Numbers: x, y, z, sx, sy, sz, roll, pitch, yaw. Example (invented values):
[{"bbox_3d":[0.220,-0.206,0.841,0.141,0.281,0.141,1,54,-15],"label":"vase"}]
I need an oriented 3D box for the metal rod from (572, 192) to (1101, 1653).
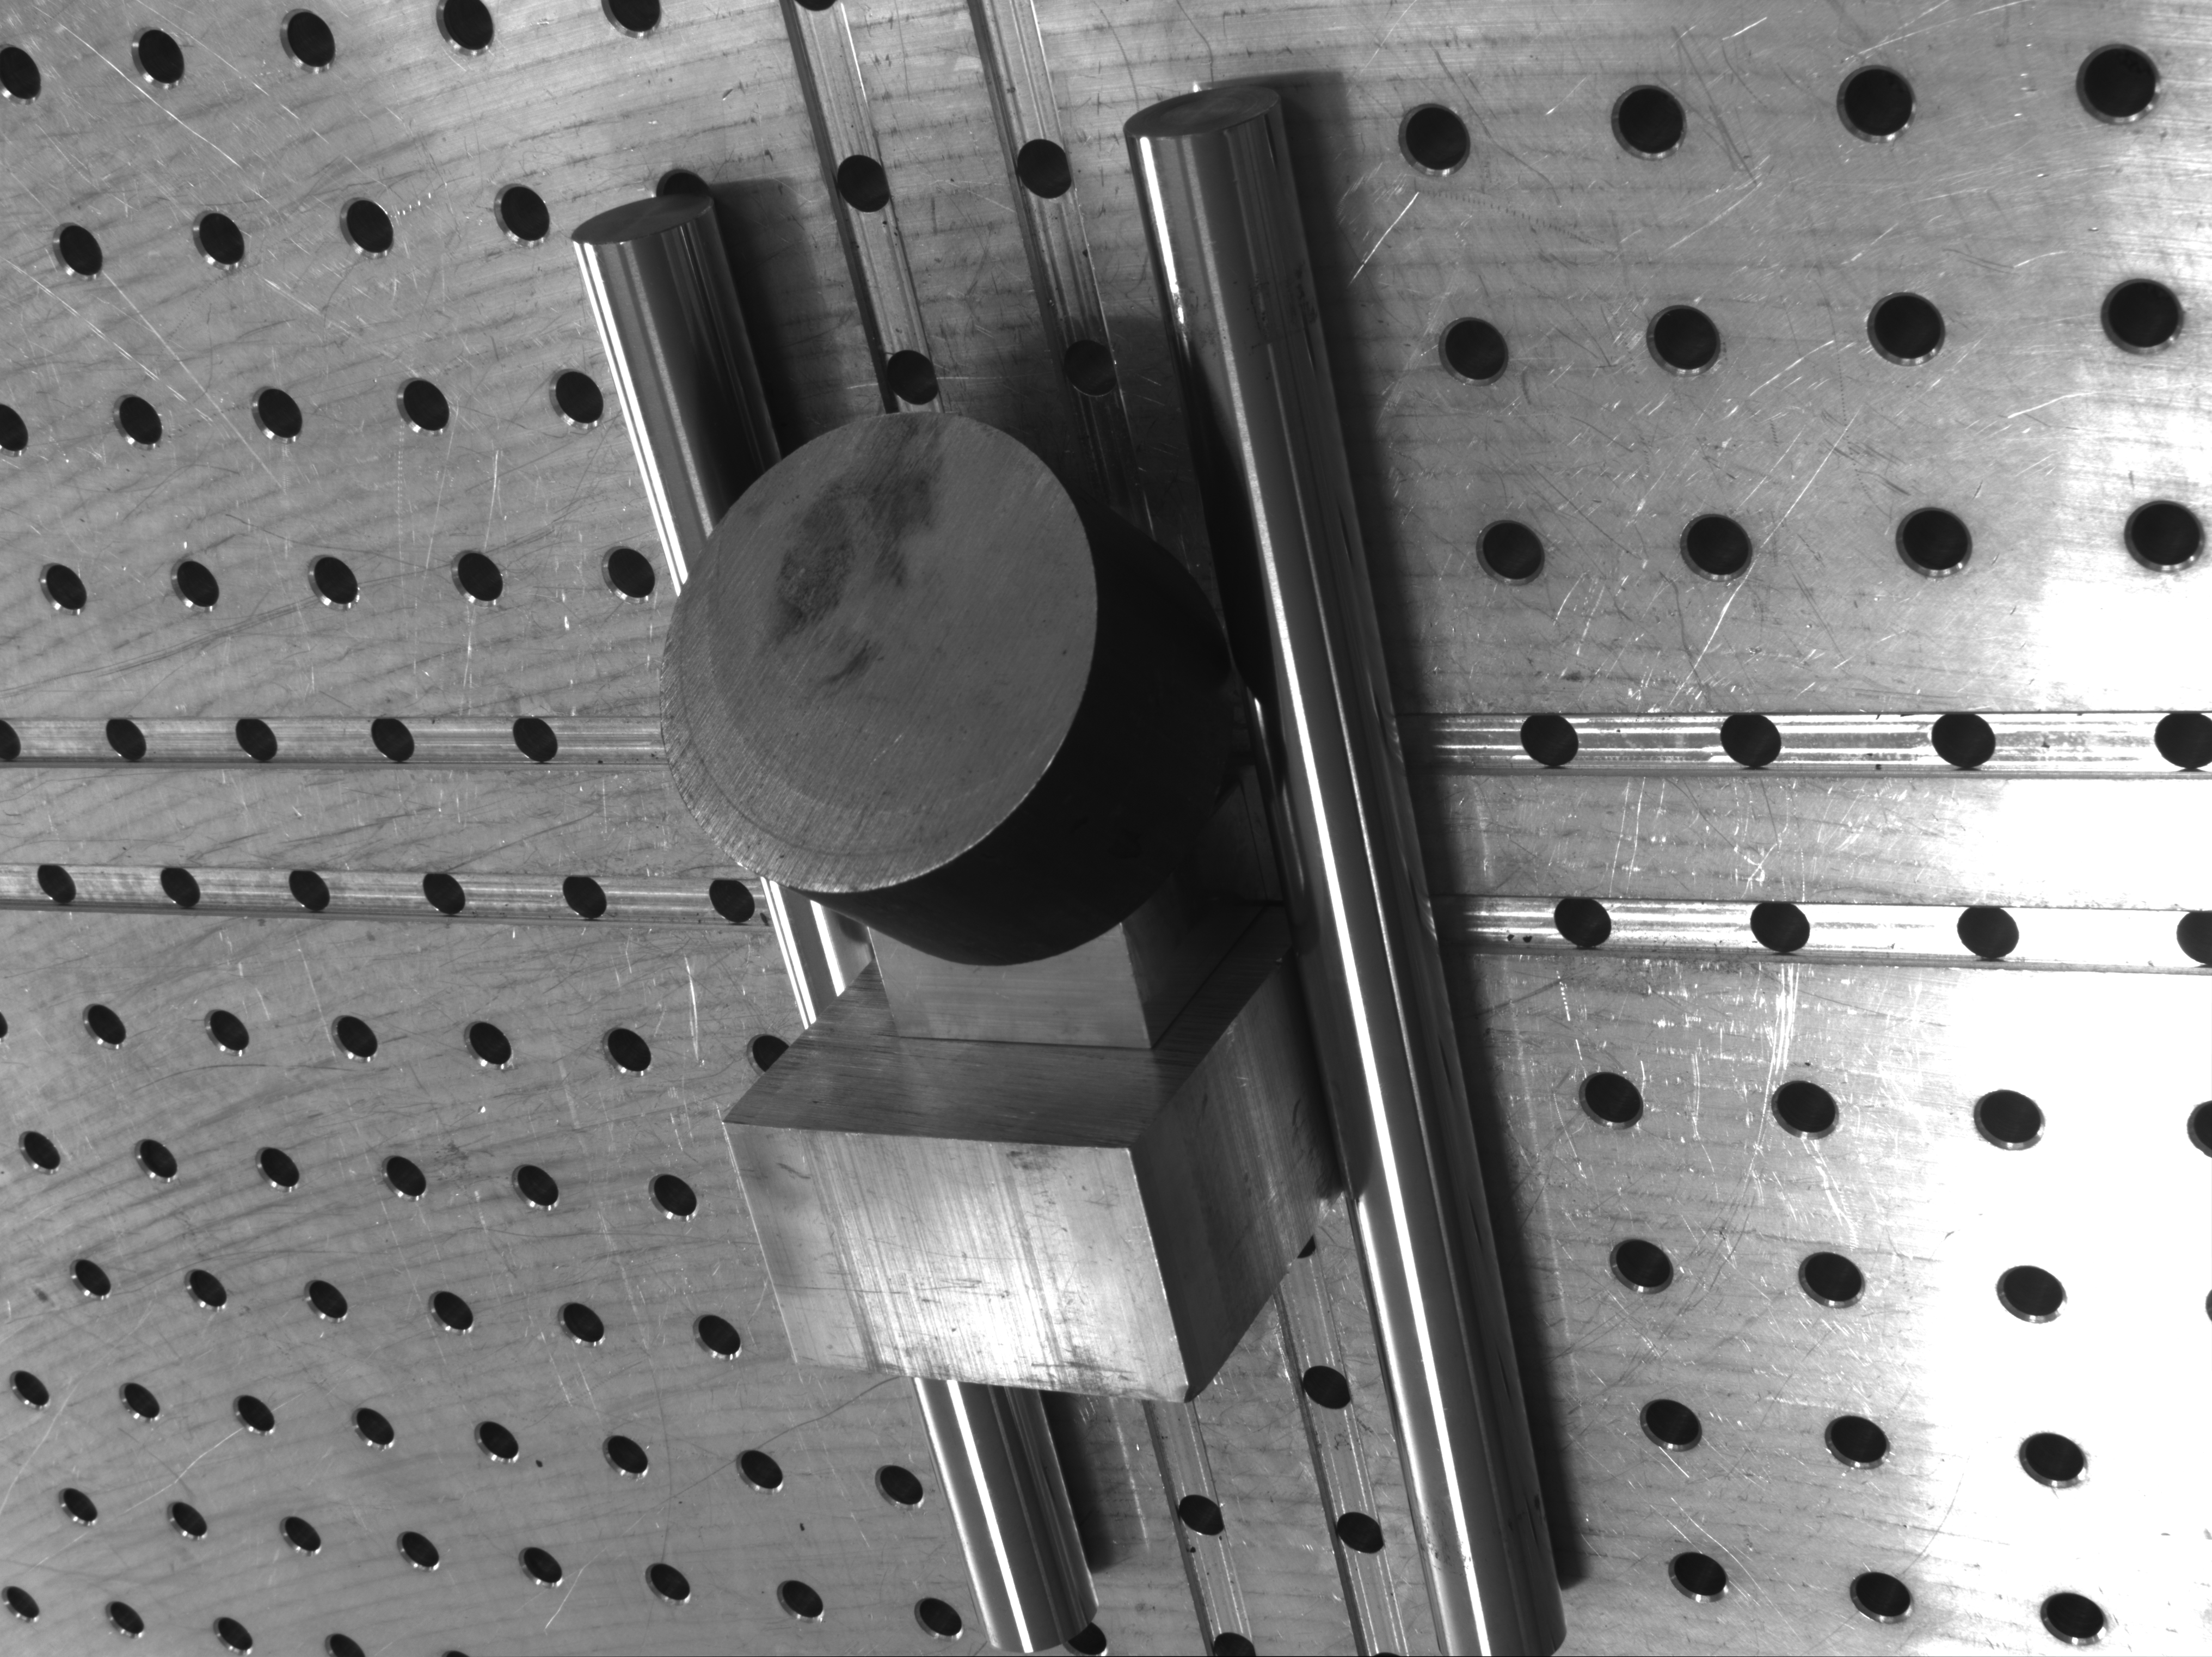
[{"bbox_3d":[-0.046,0.028,0.688,0.025,0.025,0.300,1,119,28],"label":"metal rod"}]

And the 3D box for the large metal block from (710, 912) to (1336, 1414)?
[{"bbox_3d":[-0.010,0.055,0.647,0.080,0.080,0.050,1,119,28],"label":"large metal block"}]

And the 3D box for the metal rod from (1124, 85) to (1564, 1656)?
[{"bbox_3d":[0.045,0.021,0.635,0.025,0.025,0.300,2,119,28],"label":"metal rod"}]

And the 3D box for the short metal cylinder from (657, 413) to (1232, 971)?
[{"bbox_3d":[-0.026,-0.021,0.603,0.080,0.050,0.080,-9,70,25],"label":"short metal cylinder"}]

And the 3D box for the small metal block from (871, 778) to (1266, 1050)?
[{"bbox_3d":[-0.006,0.014,0.642,0.050,0.050,0.025,1,119,27],"label":"small metal block"}]
